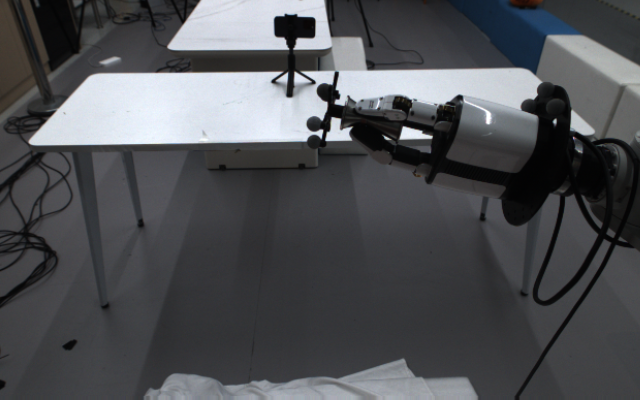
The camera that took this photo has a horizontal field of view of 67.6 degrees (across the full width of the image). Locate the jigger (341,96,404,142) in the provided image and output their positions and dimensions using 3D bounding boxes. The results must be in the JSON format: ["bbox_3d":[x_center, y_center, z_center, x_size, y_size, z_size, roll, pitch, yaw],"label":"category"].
[{"bbox_3d":[0.064,-0.098,0.559,0.071,0.043,0.043,13,36,3],"label":"jigger"}]
